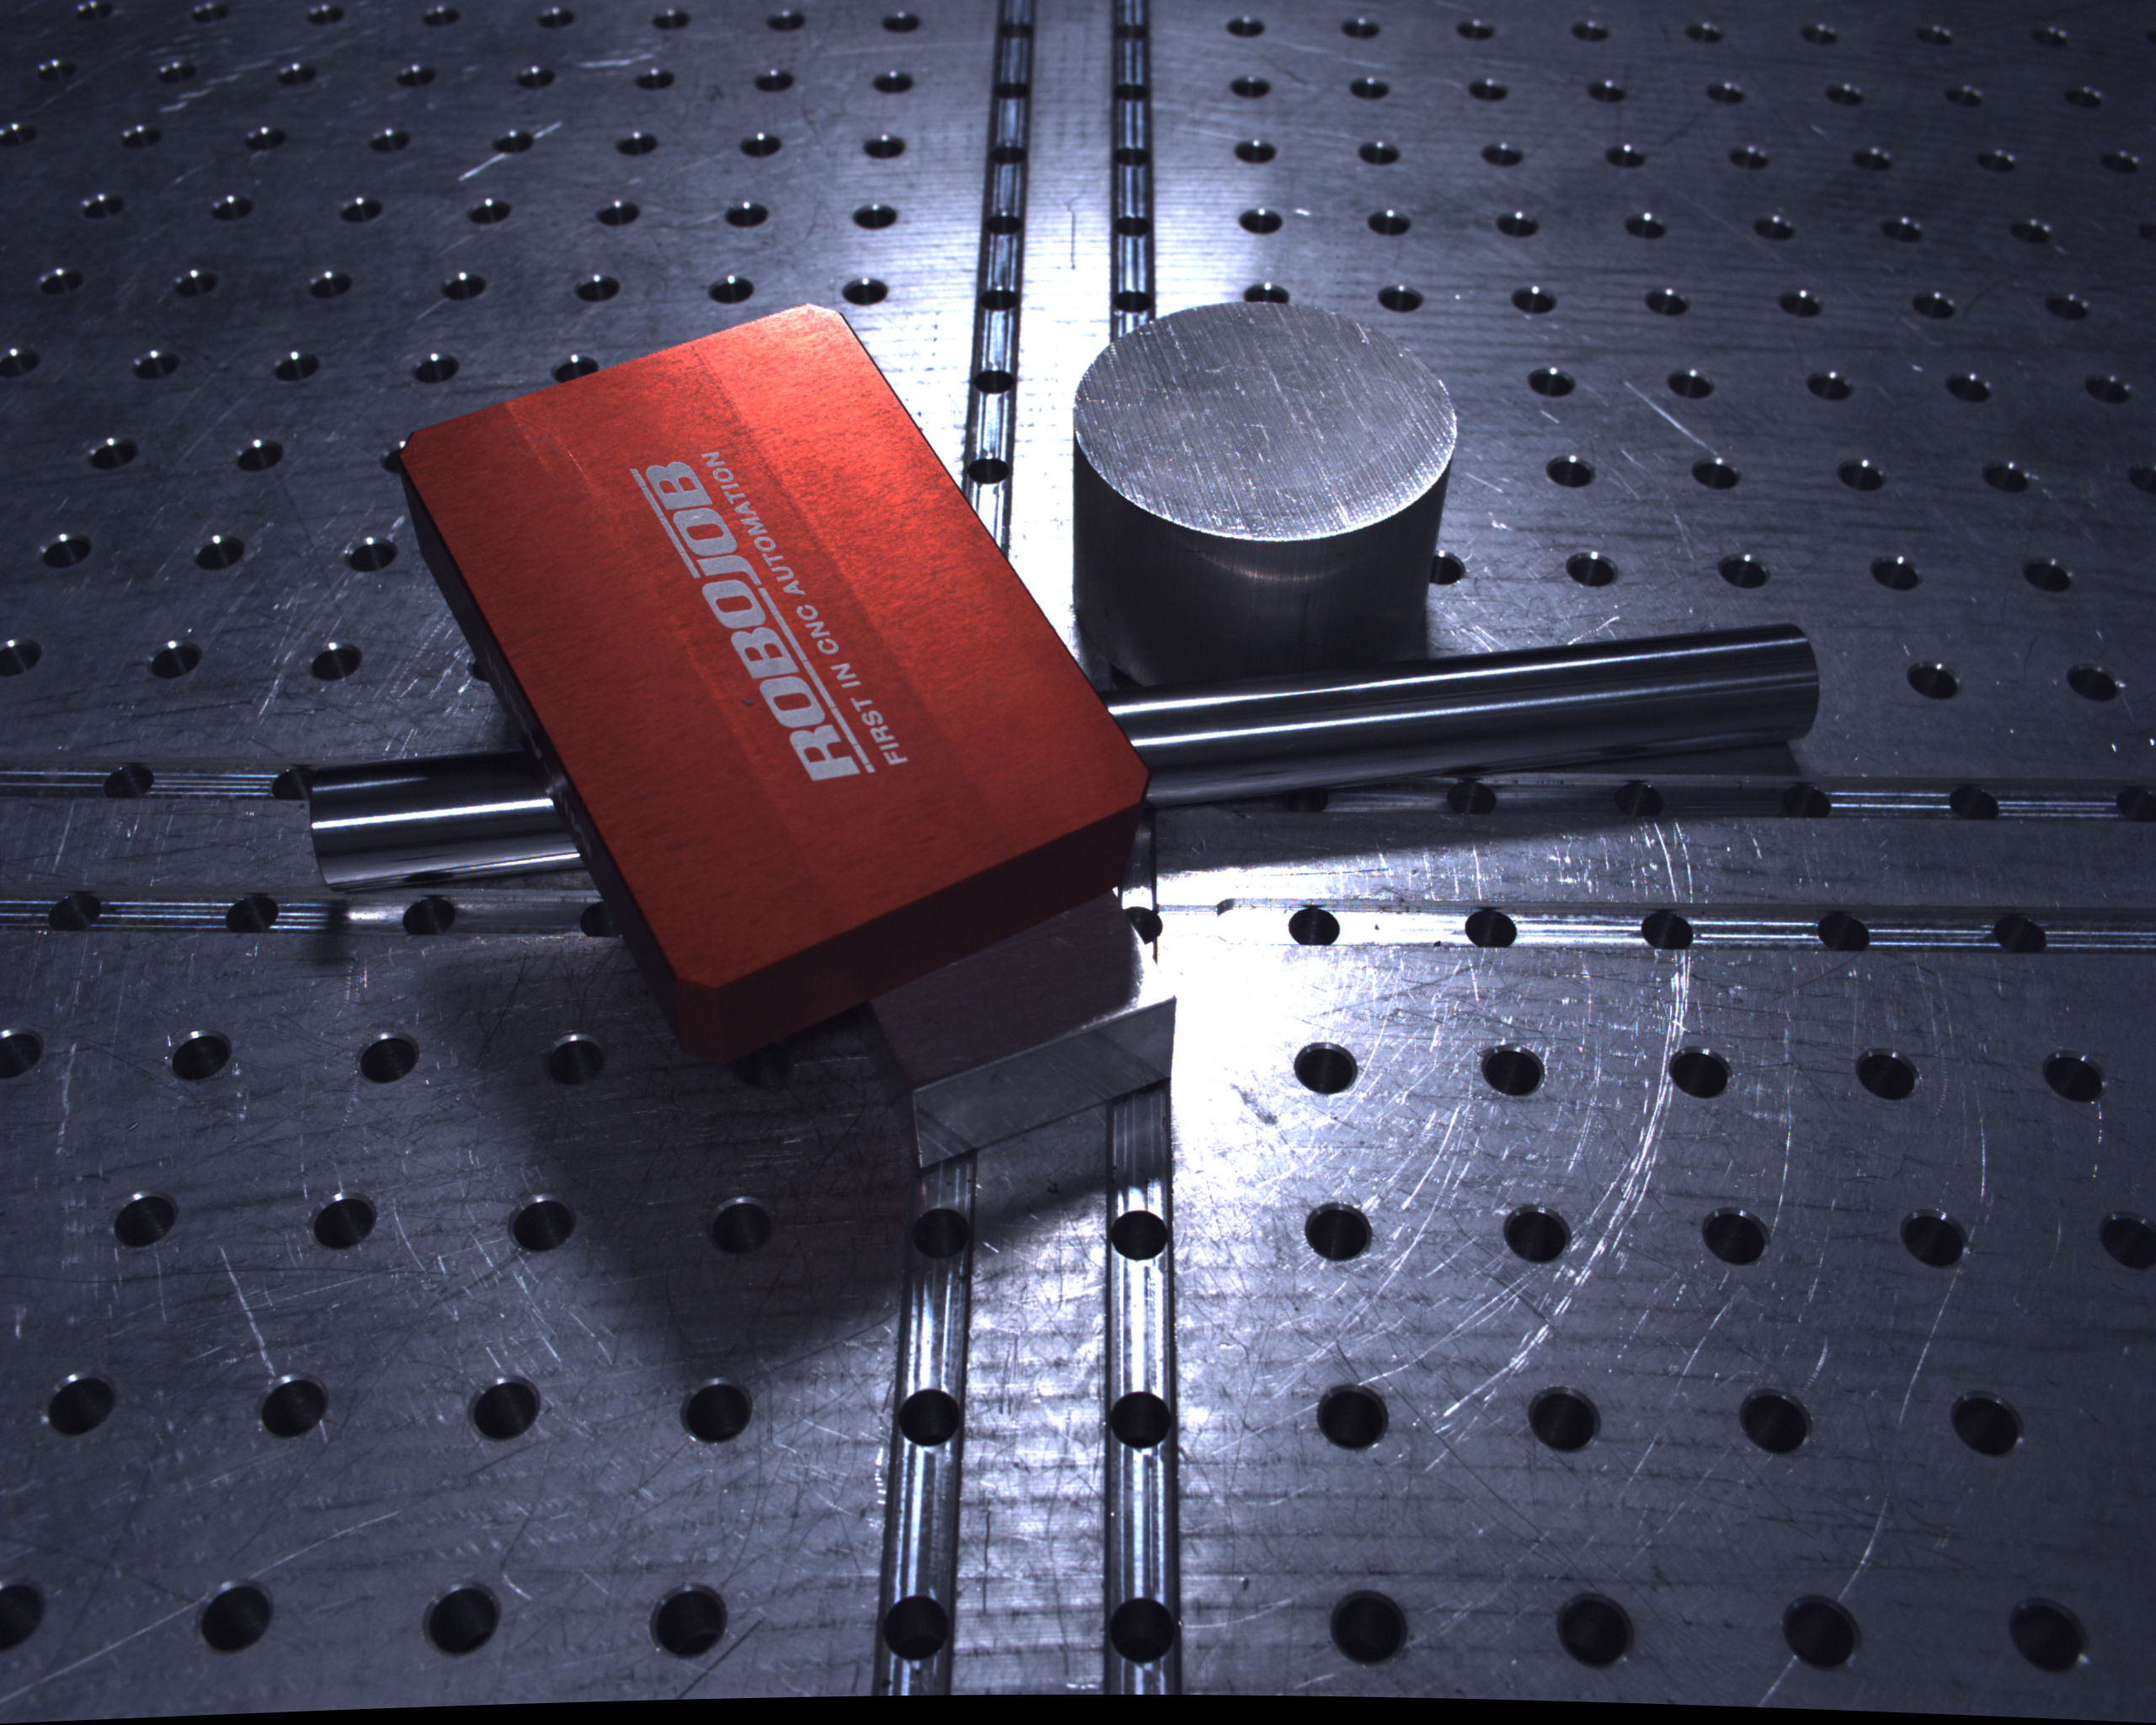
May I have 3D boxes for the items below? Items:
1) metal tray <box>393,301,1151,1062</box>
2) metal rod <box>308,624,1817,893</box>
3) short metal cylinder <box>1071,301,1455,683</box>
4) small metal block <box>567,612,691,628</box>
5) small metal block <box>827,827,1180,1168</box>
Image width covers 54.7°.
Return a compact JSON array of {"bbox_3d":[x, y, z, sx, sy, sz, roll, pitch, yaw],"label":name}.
[{"bbox_3d":[-0.058,-0.038,0.385,0.091,0.030,0.130,-25,66,-19],"label":"metal tray"},{"bbox_3d":[0.001,-0.022,0.426,0.302,0.025,0.025,-6,50,-6],"label":"metal rod"},{"bbox_3d":[0.039,-0.078,0.457,0.081,0.050,0.080,0,50,0],"label":"short metal cylinder"},{"bbox_3d":[-0.096,-0.070,0.448,0.050,0.050,0.025,-25,55,-20],"label":"small metal block"},{"bbox_3d":[-0.015,0.022,0.387,0.050,0.025,0.050,-18,53,-15],"label":"small metal block"}]
